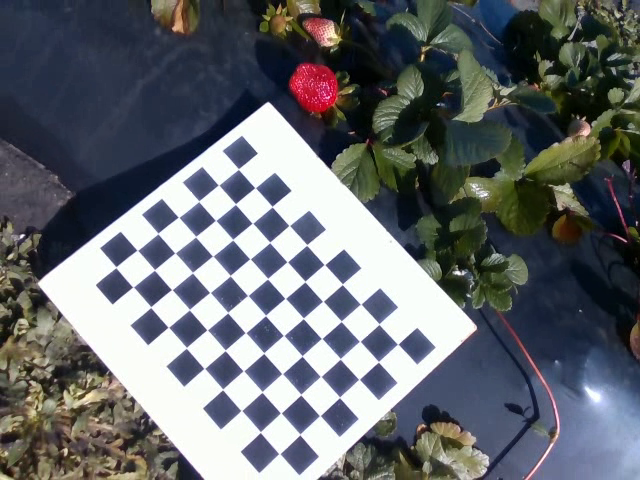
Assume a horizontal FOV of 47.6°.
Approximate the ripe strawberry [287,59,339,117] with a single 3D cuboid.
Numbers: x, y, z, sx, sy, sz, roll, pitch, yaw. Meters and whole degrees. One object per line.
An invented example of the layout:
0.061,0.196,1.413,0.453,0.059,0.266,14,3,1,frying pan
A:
-0.008,-0.148,0.697,0.058,0.066,0.062,-4,-13,24,ripe strawberry
